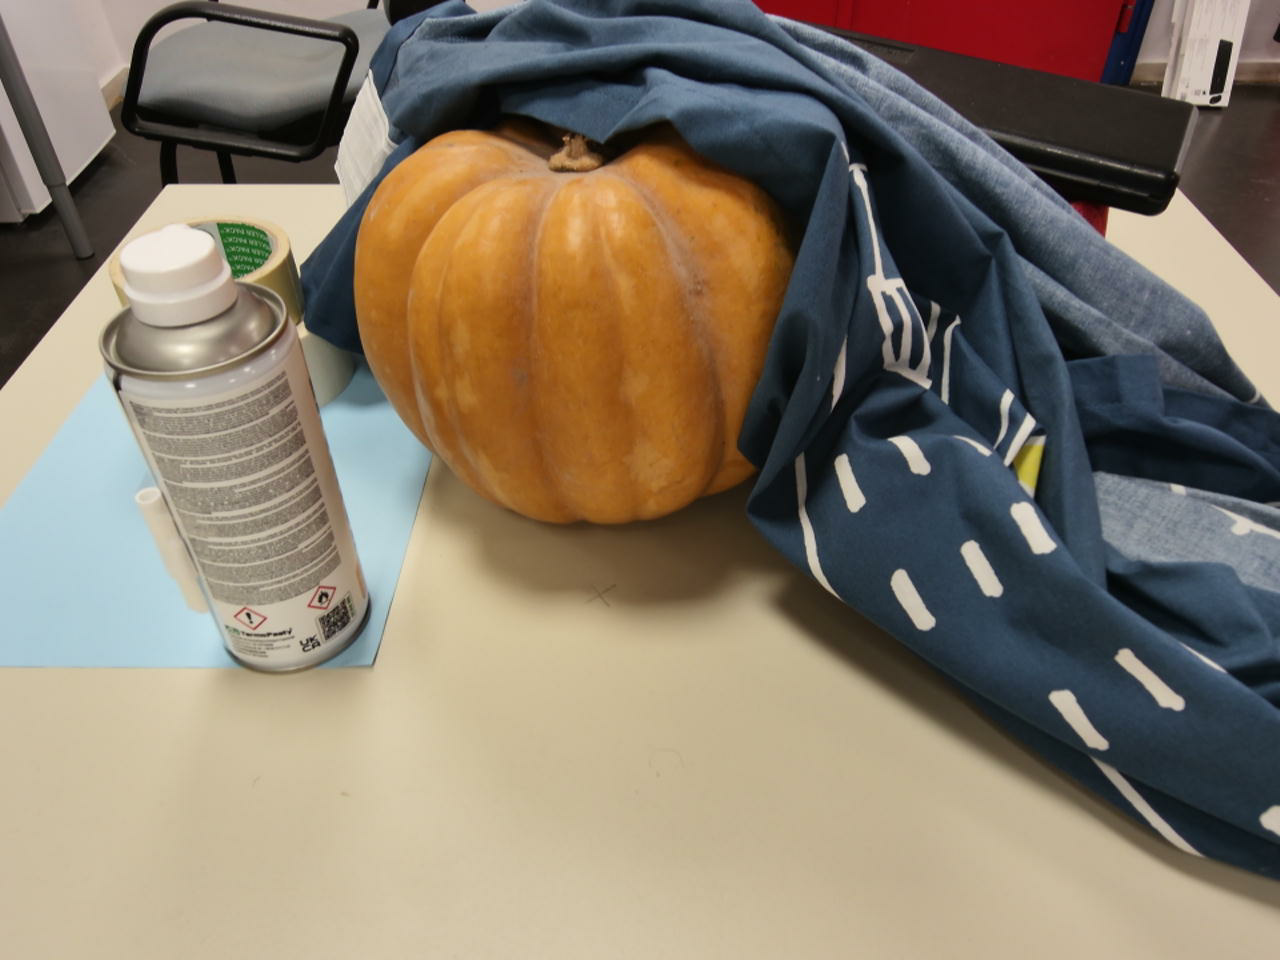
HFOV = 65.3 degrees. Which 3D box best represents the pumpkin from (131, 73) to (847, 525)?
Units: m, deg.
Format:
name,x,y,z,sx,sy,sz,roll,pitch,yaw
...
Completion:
name,x,y,z,sx,sy,sz,roll,pitch,yaw
pumpkin,-0.016,-0.084,0.480,0.230,0.194,0.230,0,39,0
